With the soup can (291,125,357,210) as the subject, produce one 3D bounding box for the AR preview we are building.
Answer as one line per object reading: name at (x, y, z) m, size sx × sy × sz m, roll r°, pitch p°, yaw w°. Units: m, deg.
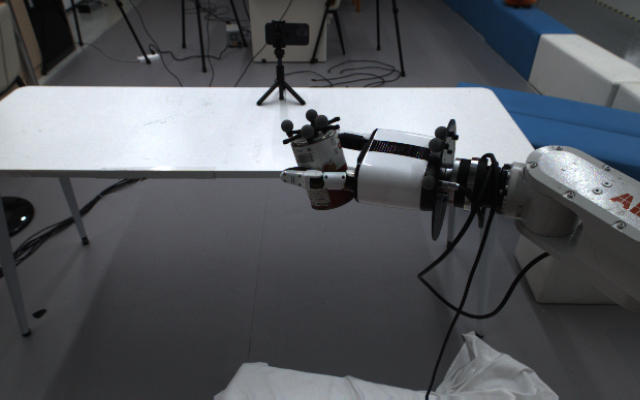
soup can at (0.005, -0.045, 0.679) m, size 0.067 × 0.101 × 0.067 m, roll -16°, pitch 22°, yaw 7°
